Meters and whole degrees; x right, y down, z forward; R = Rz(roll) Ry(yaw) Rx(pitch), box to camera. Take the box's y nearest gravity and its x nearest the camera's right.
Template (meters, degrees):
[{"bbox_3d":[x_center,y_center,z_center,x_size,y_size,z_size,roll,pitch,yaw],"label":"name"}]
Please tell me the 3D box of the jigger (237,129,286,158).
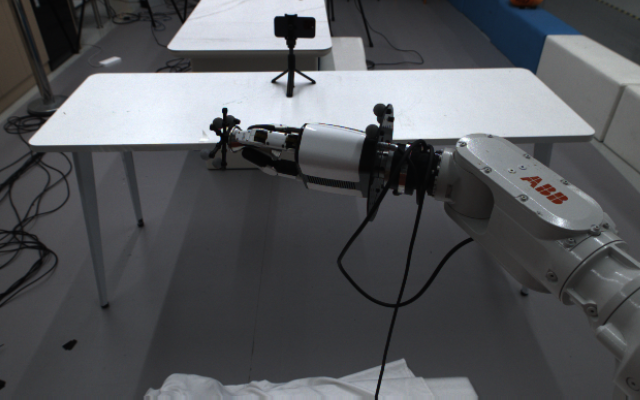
[{"bbox_3d":[-0.092,-0.088,0.702,0.071,0.043,0.043,10,35,16],"label":"jigger"}]
